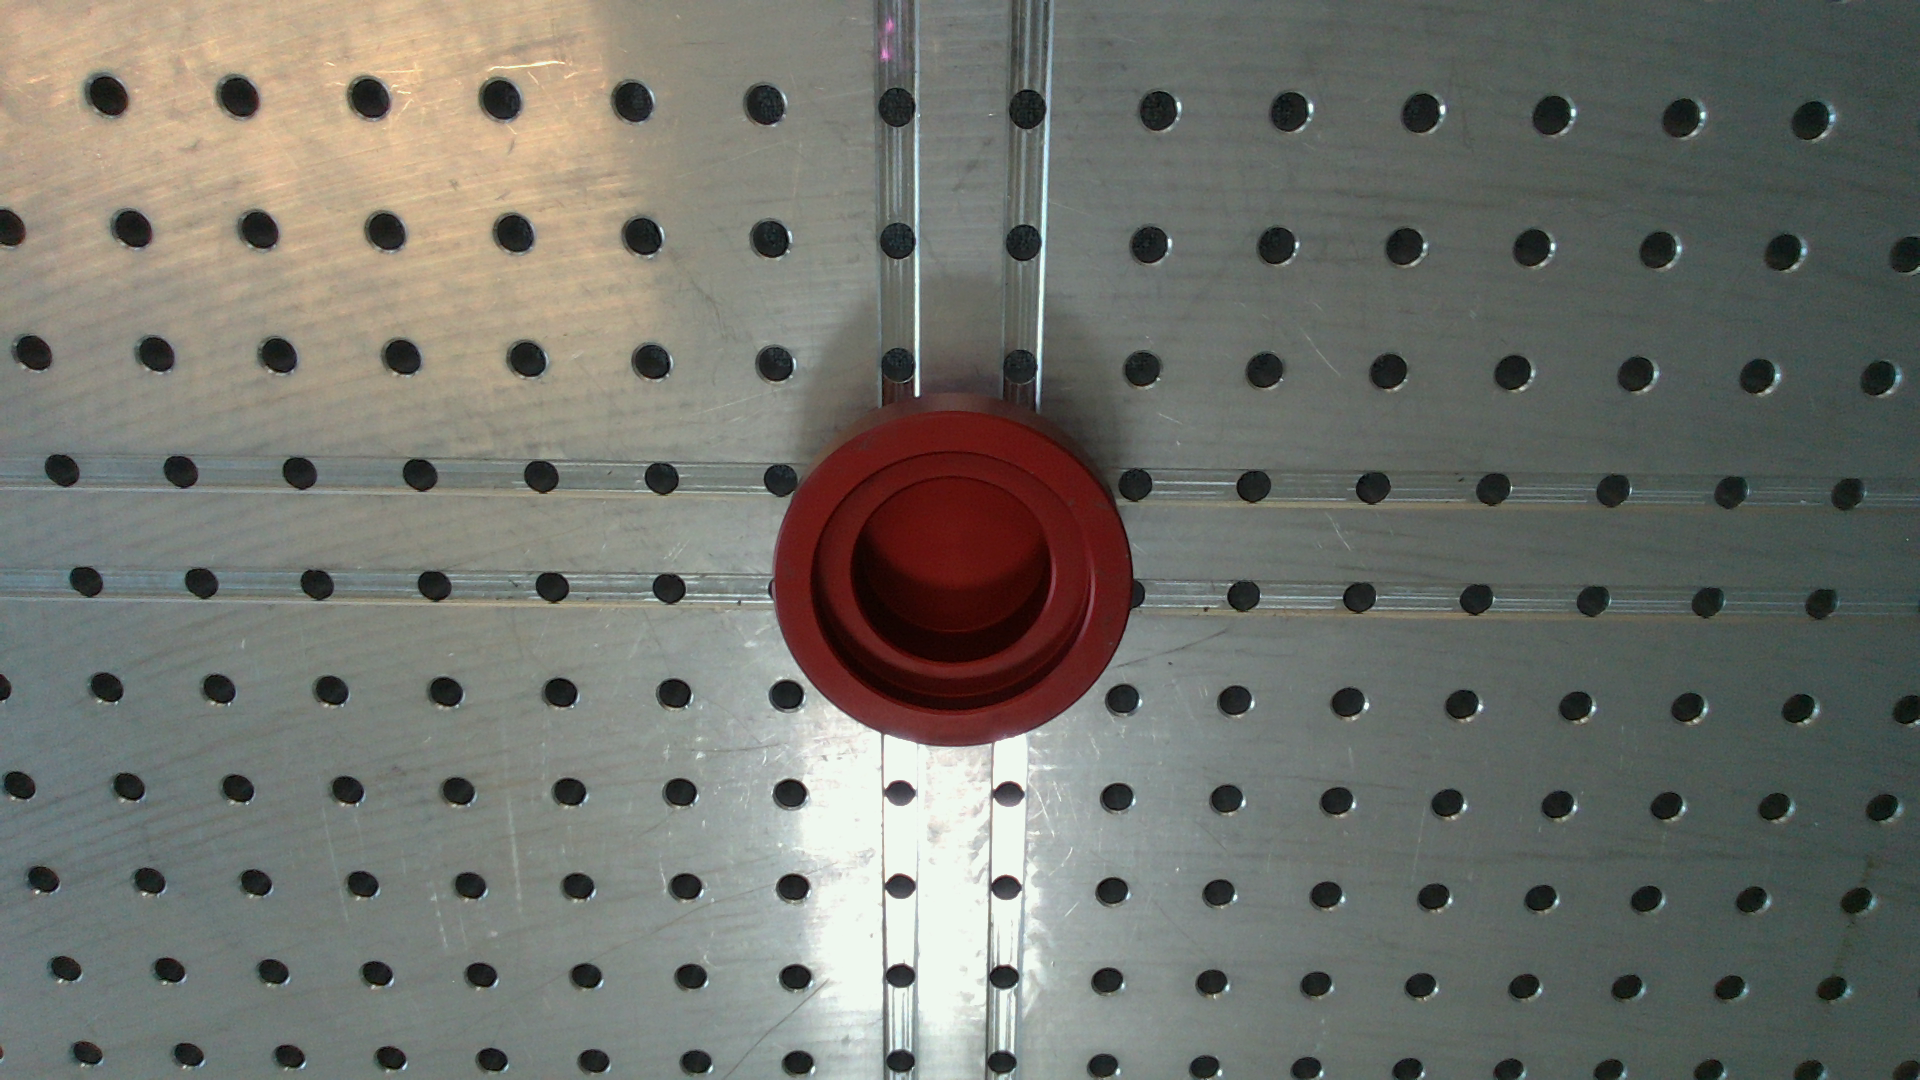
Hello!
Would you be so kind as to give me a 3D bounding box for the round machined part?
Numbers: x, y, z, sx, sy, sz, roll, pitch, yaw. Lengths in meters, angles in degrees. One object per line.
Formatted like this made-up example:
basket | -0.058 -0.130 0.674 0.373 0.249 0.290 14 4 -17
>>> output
round machined part | -0.002 0.006 0.389 0.098 0.042 0.098 0 110 0
